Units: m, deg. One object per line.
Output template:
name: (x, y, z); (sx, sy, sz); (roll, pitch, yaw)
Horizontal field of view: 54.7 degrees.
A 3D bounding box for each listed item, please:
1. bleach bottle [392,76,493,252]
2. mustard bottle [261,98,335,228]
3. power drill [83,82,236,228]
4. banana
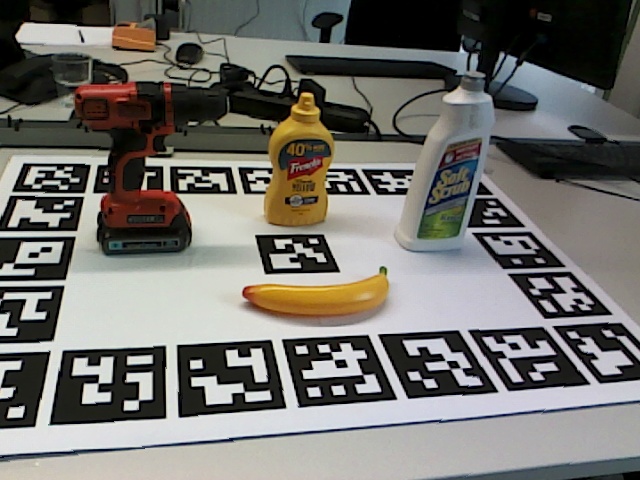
bleach bottle: (0.174, -0.104, 0.868); (0.102, 0.250, 0.068); (5, 31, -7)
mustard bottle: (-0.028, -0.111, 0.894); (0.096, 0.191, 0.059); (-3, 33, -21)
power drill: (-0.198, -0.111, 0.797); (0.184, 0.186, 0.058); (-7, 34, -16)
banana: (0.004, 0.059, 0.751); (0.196, 0.039, 0.074); (-6, 36, -16)
